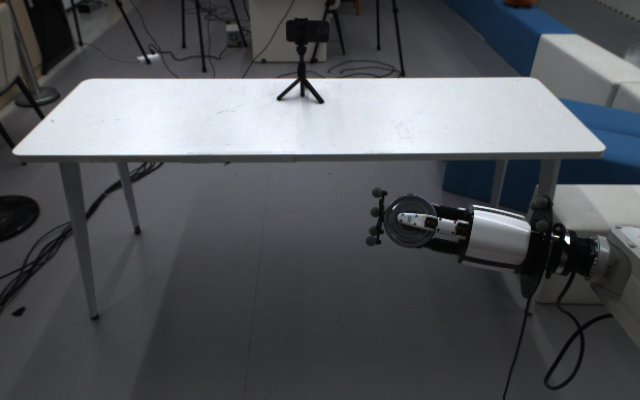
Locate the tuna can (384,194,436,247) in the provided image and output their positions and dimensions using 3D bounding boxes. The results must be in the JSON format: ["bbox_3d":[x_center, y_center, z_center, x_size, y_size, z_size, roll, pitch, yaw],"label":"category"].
[{"bbox_3d":[0.148,0.036,0.773,0.085,0.085,0.034,9,-7,10],"label":"tuna can"}]
